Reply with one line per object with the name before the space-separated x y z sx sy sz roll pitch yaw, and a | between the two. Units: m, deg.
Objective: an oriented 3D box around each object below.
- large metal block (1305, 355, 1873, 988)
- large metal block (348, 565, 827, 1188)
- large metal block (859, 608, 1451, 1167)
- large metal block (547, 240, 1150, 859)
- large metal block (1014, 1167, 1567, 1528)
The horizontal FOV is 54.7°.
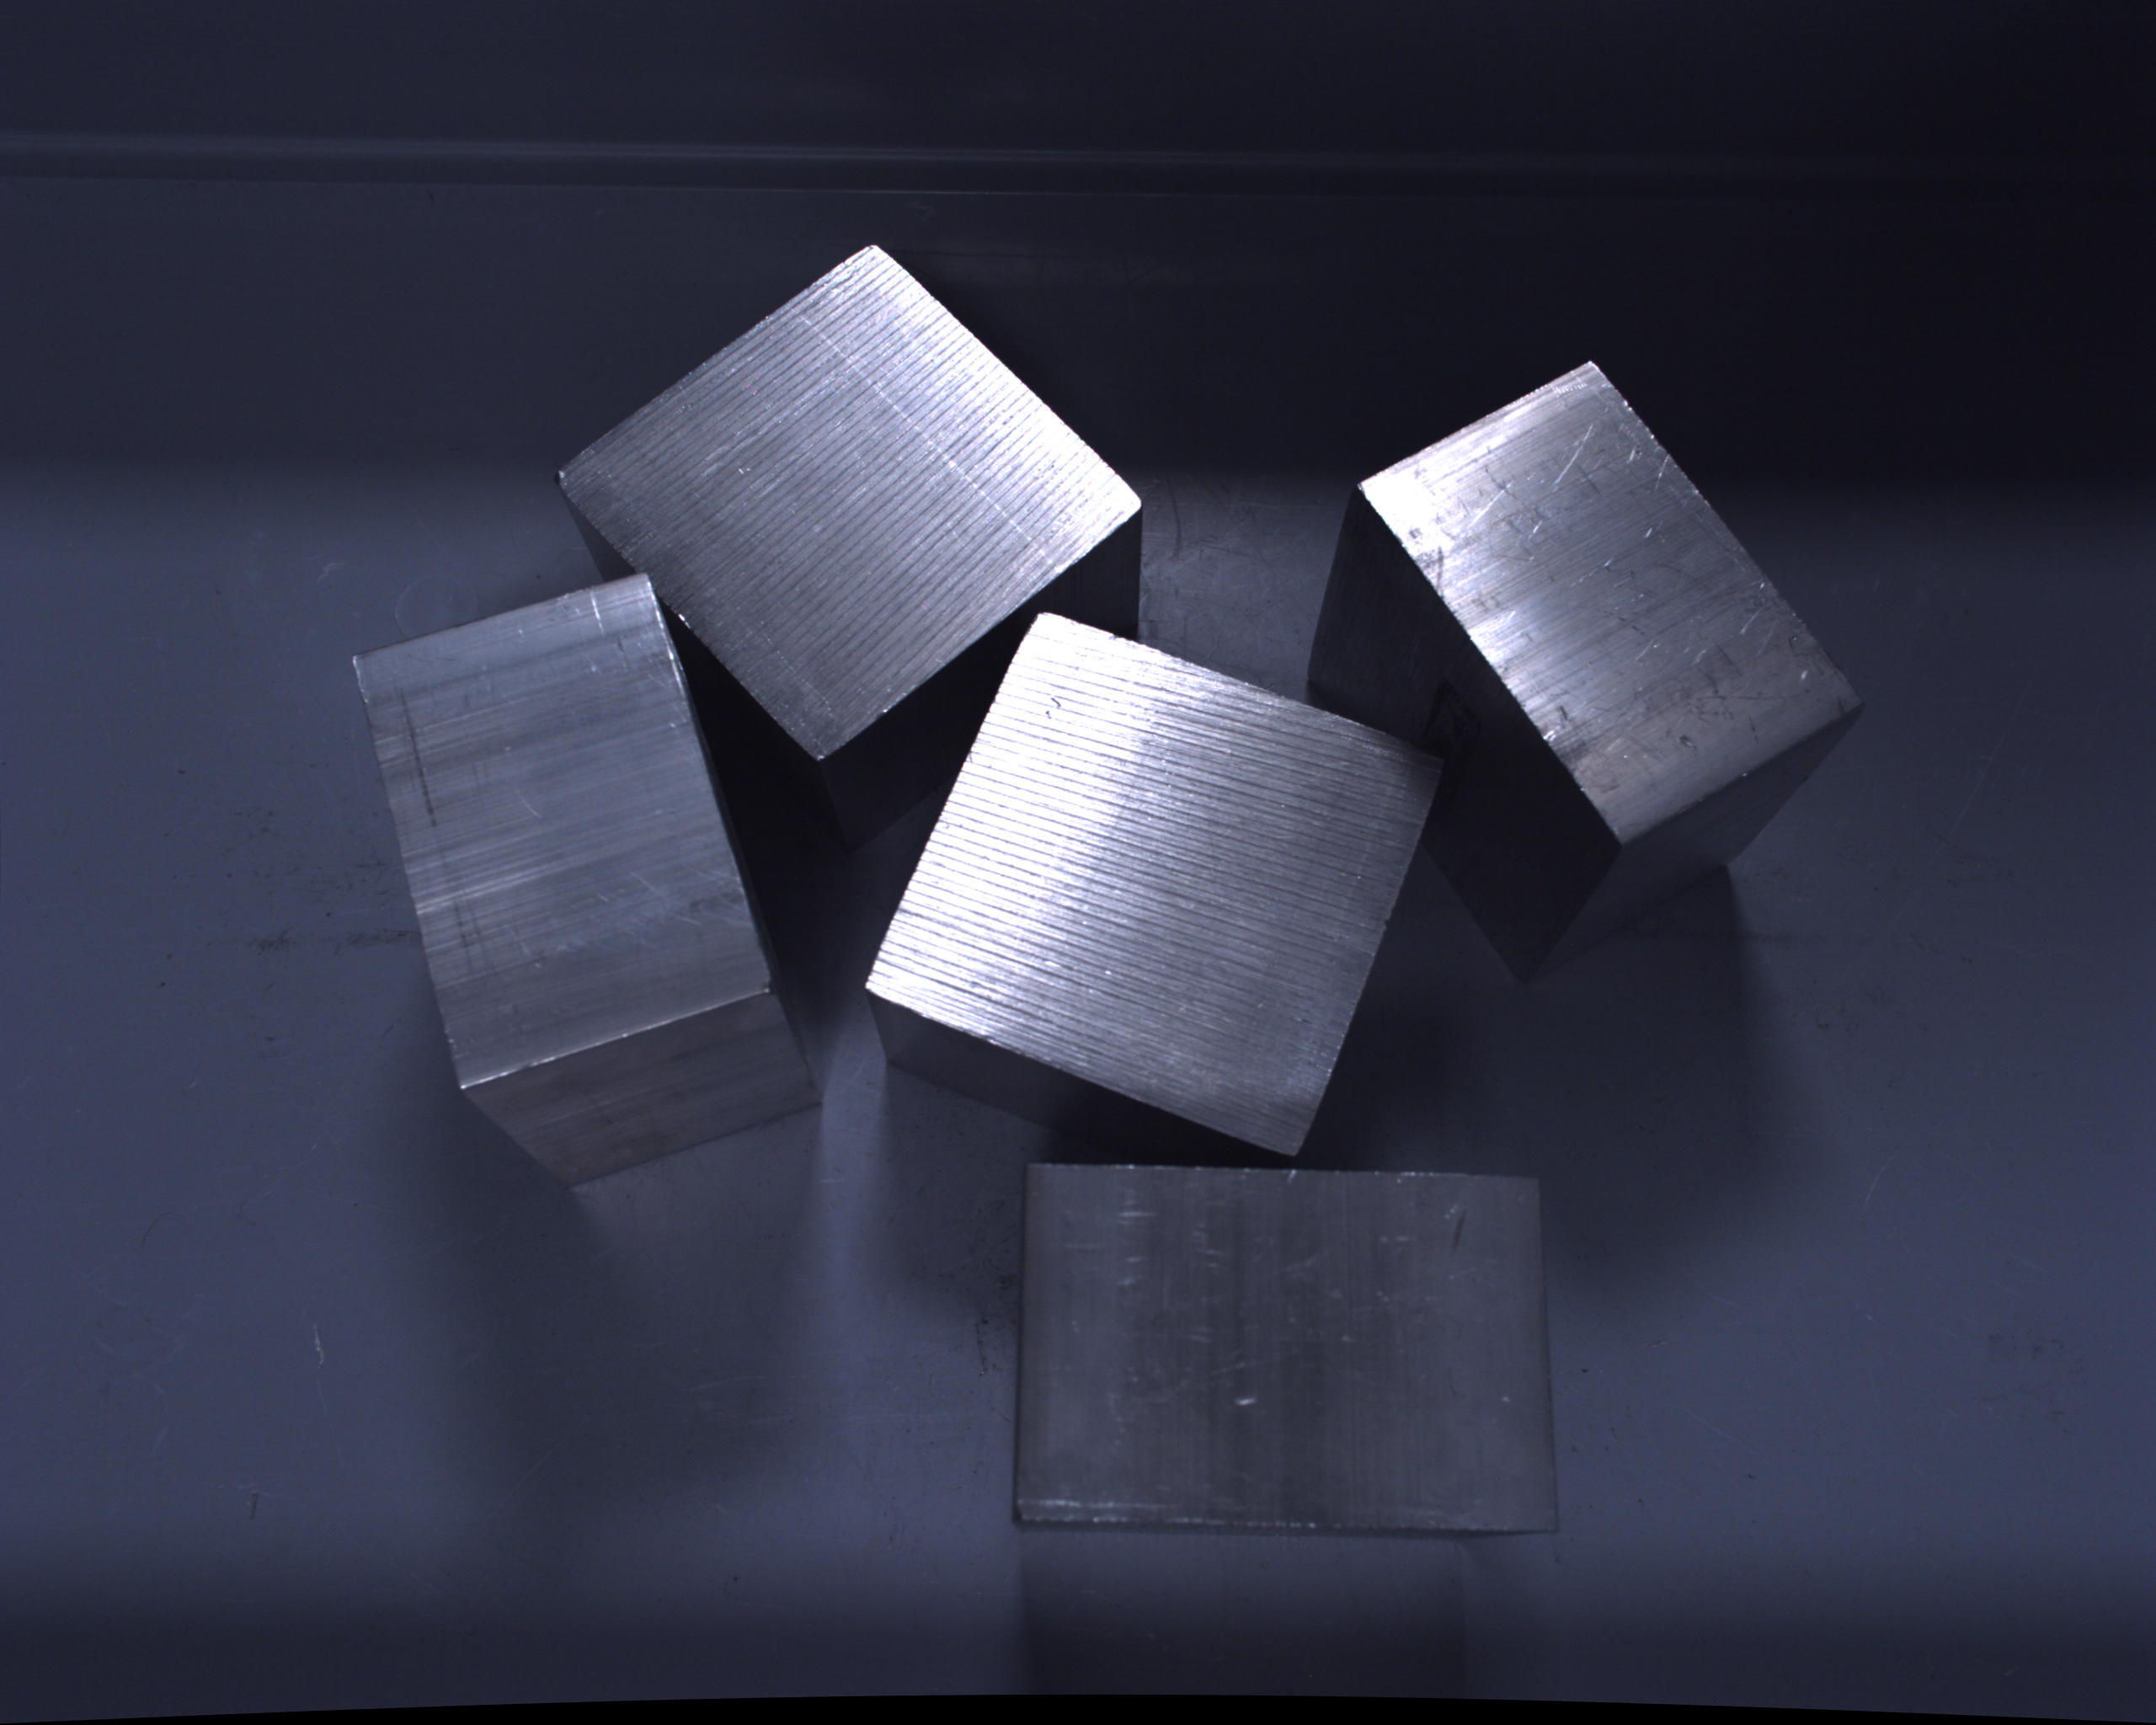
large metal block | 0.090 -0.033 0.391 0.050 0.080 0.080 -30 73 -10
large metal block | -0.085 0.006 0.376 0.050 0.080 0.080 -18 71 -7
large metal block | 0.015 0.010 0.391 0.080 0.050 0.080 21 71 7
large metal block | -0.043 -0.062 0.417 0.080 0.050 0.080 -40 75 -14
large metal block | 0.031 0.084 0.349 0.081 0.080 0.050 1 70 0
